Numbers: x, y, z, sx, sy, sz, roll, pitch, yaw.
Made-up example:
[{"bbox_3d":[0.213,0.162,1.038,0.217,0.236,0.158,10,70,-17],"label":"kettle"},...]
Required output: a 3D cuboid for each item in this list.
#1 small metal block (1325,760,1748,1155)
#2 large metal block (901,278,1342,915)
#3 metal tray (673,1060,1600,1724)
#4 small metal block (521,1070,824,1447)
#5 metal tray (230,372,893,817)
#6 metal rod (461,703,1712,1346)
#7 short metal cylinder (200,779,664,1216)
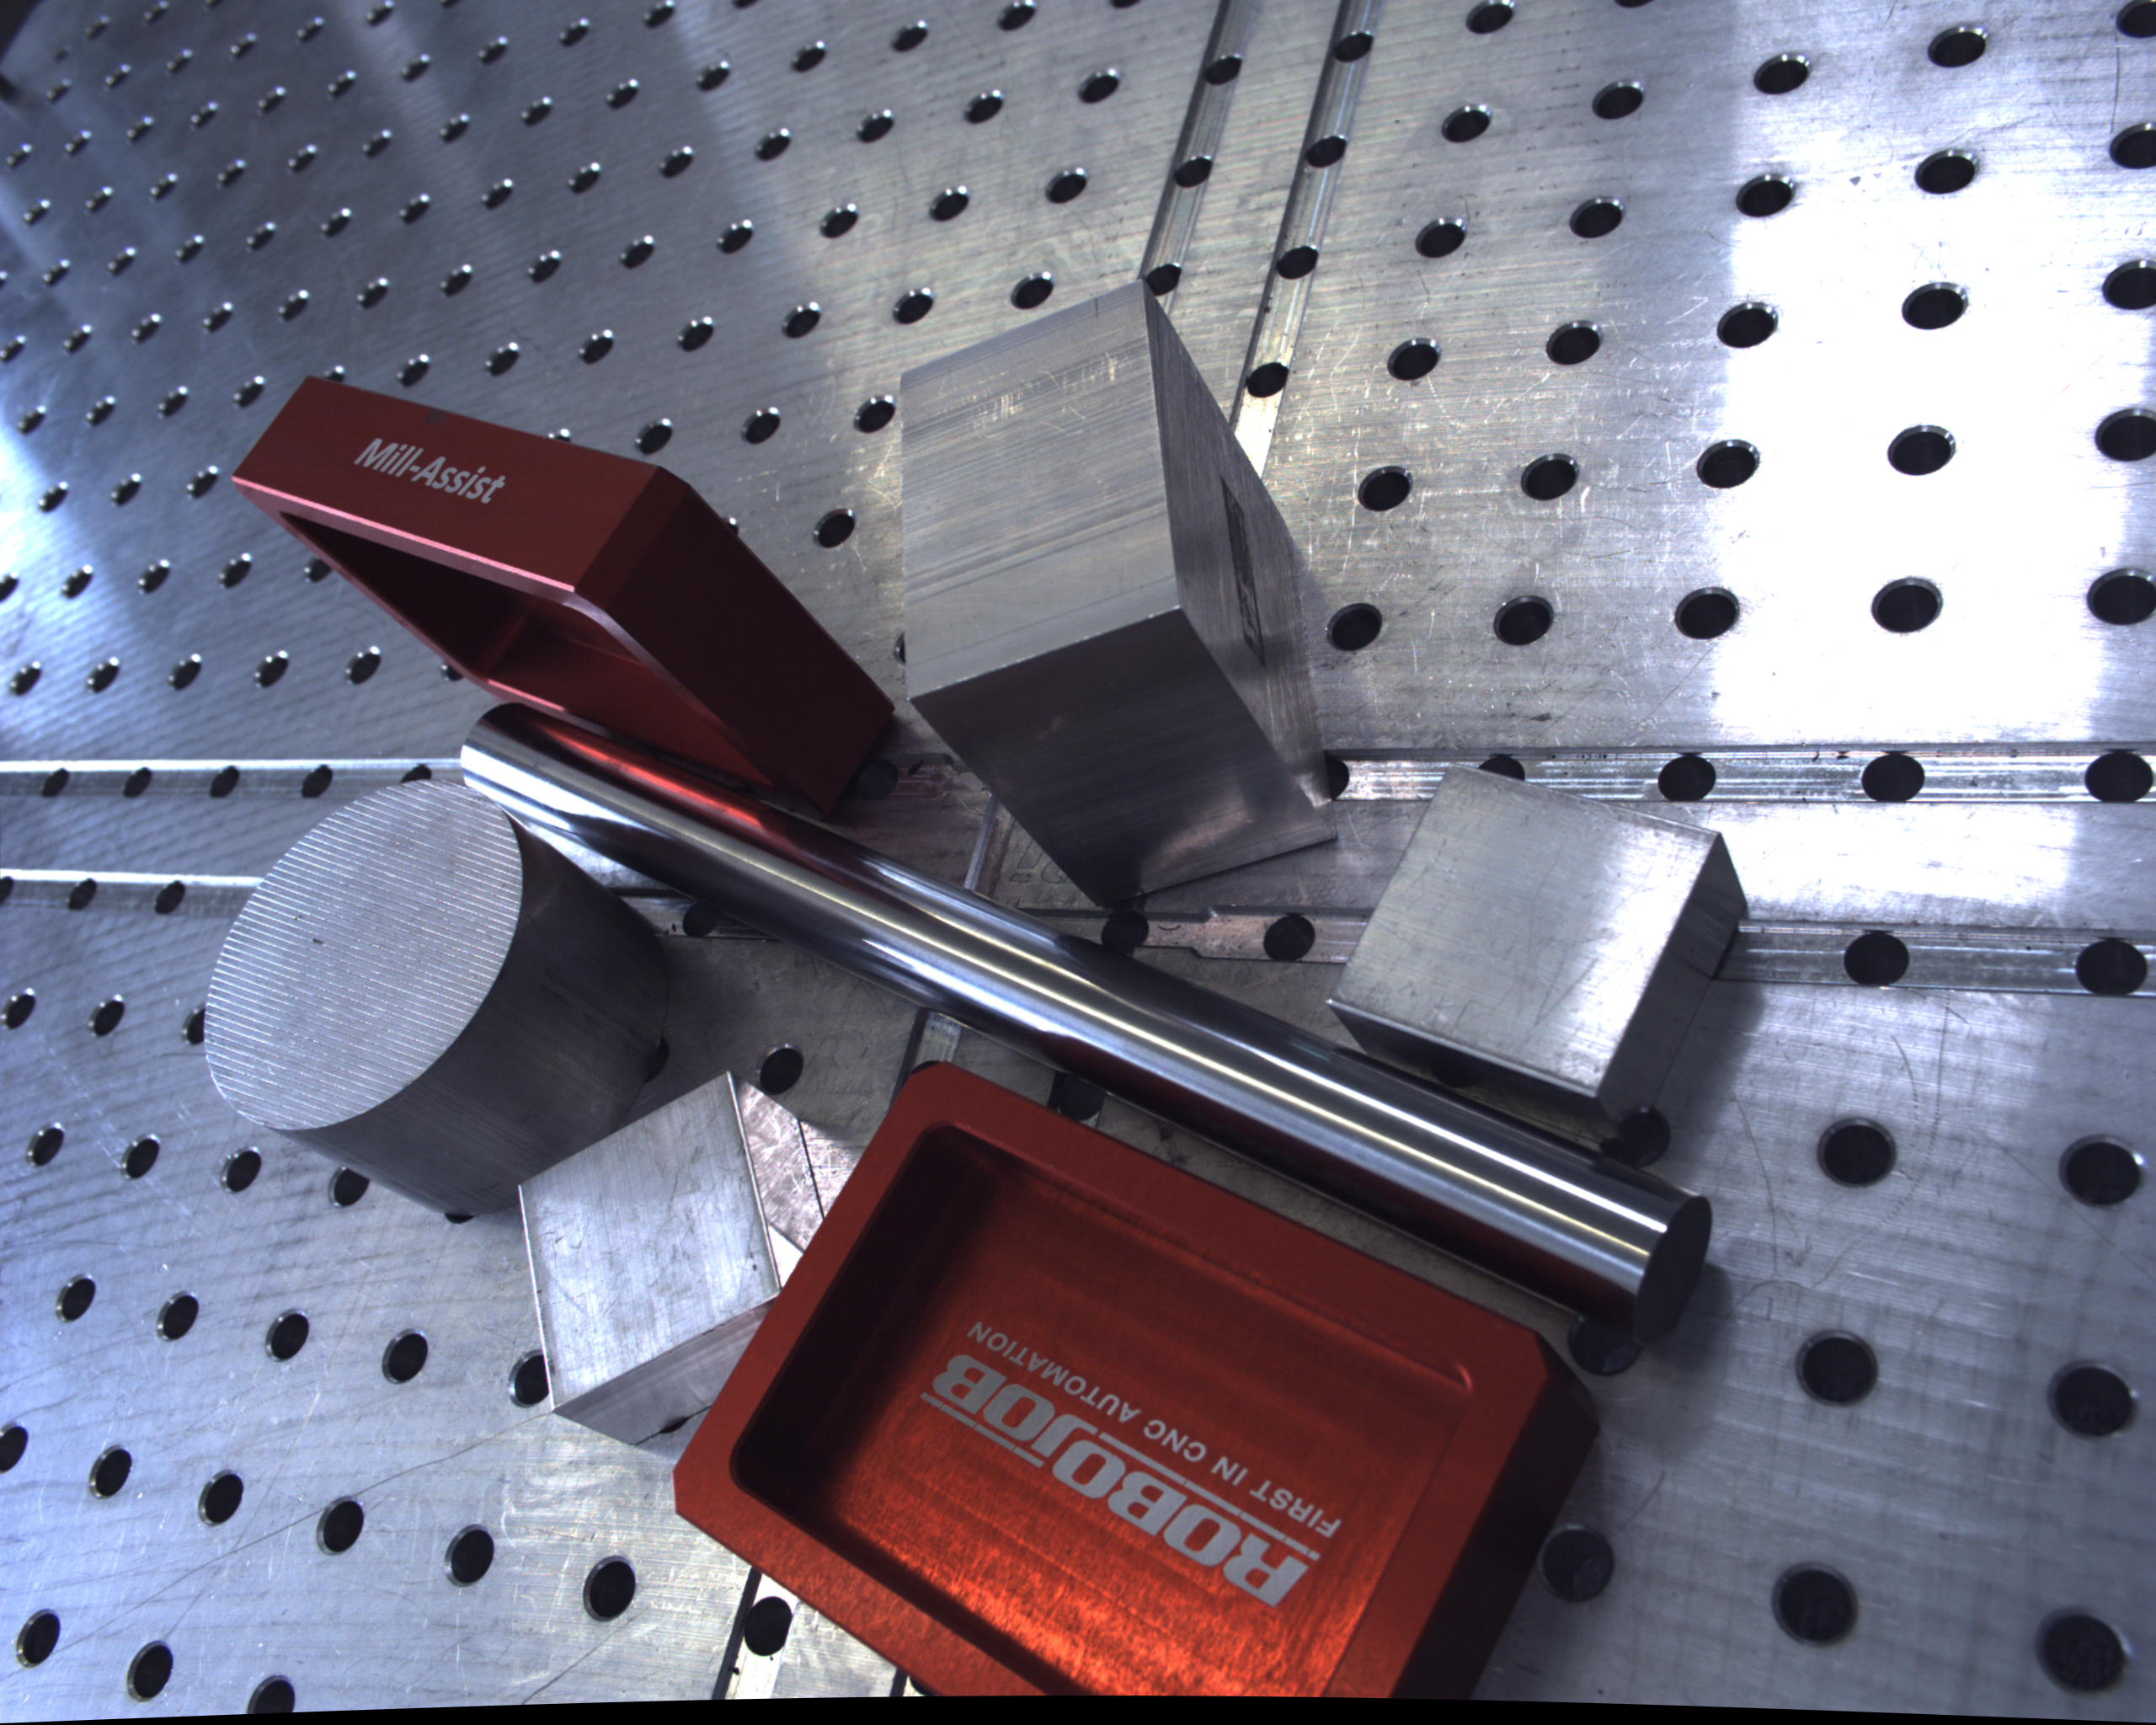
[{"bbox_3d":[0.079,0.015,0.357,0.050,0.025,0.050,19,71,35],"label":"small metal block"},{"bbox_3d":[0.008,-0.048,0.400,0.050,0.080,0.080,-17,55,19],"label":"large metal block"},{"bbox_3d":[0.006,0.096,0.342,0.130,0.030,0.090,20,72,35],"label":"metal tray"},{"bbox_3d":[-0.076,0.076,0.402,0.050,0.025,0.050,-28,52,10],"label":"small metal block"},{"bbox_3d":[-0.114,-0.060,0.462,0.130,0.090,0.030,20,73,35],"label":"metal tray"},{"bbox_3d":[-0.022,0.018,0.408,0.300,0.025,0.025,21,73,36],"label":"metal rod"},{"bbox_3d":[-0.137,0.029,0.445,0.080,0.050,0.080,-13,56,21],"label":"short metal cylinder"}]
